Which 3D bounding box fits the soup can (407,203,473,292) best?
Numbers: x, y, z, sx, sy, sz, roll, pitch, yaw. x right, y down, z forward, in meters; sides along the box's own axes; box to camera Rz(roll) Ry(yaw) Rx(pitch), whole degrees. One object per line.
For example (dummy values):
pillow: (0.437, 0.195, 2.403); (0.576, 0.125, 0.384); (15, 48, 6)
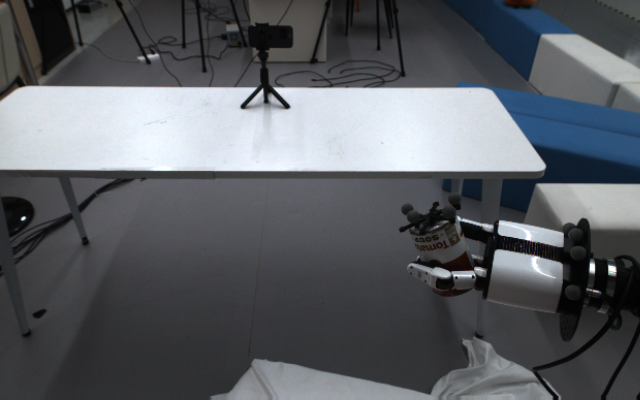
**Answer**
soup can: (0.173, 0.071, 0.666); (0.067, 0.101, 0.067); (-23, 16, 7)
